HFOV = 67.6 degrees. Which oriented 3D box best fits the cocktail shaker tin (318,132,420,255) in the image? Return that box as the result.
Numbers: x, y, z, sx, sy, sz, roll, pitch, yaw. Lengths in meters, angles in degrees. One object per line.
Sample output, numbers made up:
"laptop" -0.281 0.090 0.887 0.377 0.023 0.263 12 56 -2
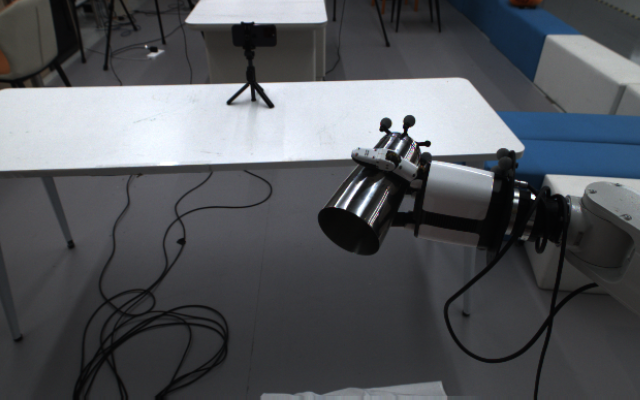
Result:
"cocktail shaker tin" 0.081 -0.022 0.671 0.093 0.093 0.170 19 55 22
